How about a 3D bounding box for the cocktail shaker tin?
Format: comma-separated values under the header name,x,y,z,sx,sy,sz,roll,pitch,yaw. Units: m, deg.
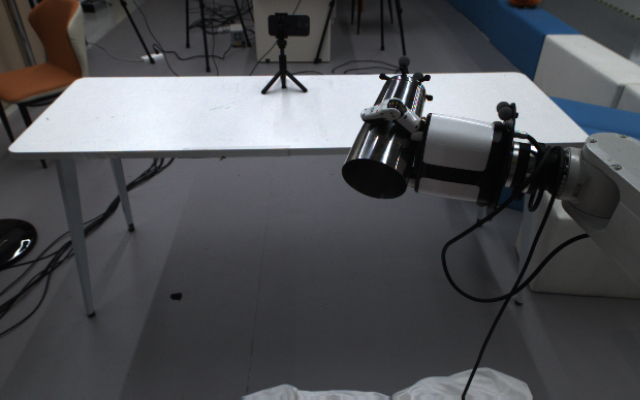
name,x,y,z,sx,sy,sz,roll,pitch,yaw
cocktail shaker tin,0.099,-0.097,0.694,0.093,0.093,0.170,14,61,17
